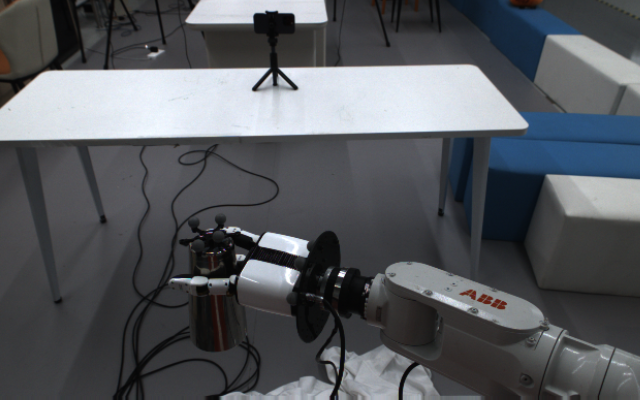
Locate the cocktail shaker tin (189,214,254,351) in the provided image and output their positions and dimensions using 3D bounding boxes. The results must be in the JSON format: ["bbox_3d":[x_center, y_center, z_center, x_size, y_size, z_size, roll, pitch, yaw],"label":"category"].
[{"bbox_3d":[-0.161,0.136,0.751,0.093,0.170,0.093,1,26,-1],"label":"cocktail shaker tin"}]
